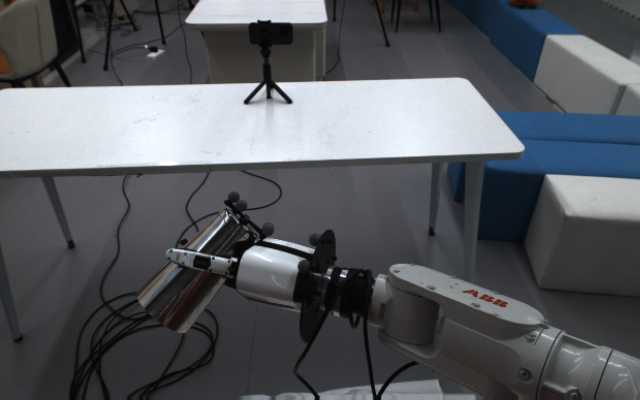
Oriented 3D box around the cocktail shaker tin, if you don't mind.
[{"bbox_3d":[-0.170,0.094,0.703,0.170,0.093,0.093,-48,49,-3],"label":"cocktail shaker tin"}]
